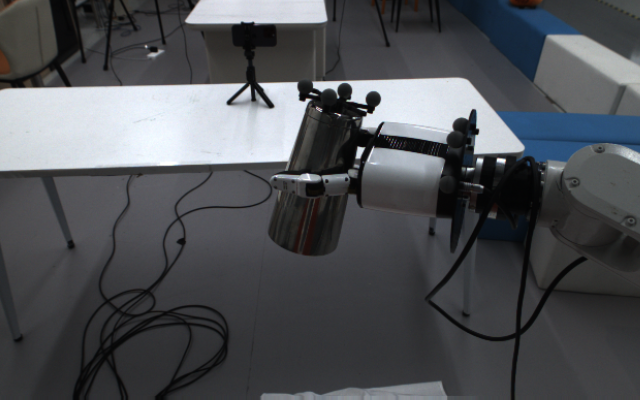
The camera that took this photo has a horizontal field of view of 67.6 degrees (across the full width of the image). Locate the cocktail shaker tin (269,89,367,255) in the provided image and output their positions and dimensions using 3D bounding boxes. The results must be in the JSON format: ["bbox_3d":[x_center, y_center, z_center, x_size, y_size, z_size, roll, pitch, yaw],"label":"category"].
[{"bbox_3d":[0.000,-0.031,0.584,0.093,0.170,0.093,12,24,-5],"label":"cocktail shaker tin"}]
